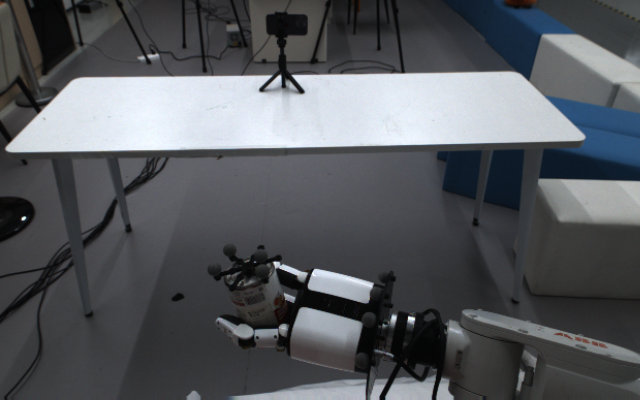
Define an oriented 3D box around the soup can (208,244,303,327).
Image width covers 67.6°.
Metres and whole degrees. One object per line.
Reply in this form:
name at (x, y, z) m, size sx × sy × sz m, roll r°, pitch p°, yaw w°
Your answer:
soup can at (-0.079, 0.133, 0.632) m, size 0.067 × 0.101 × 0.067 m, roll -11°, pitch 27°, yaw 6°
